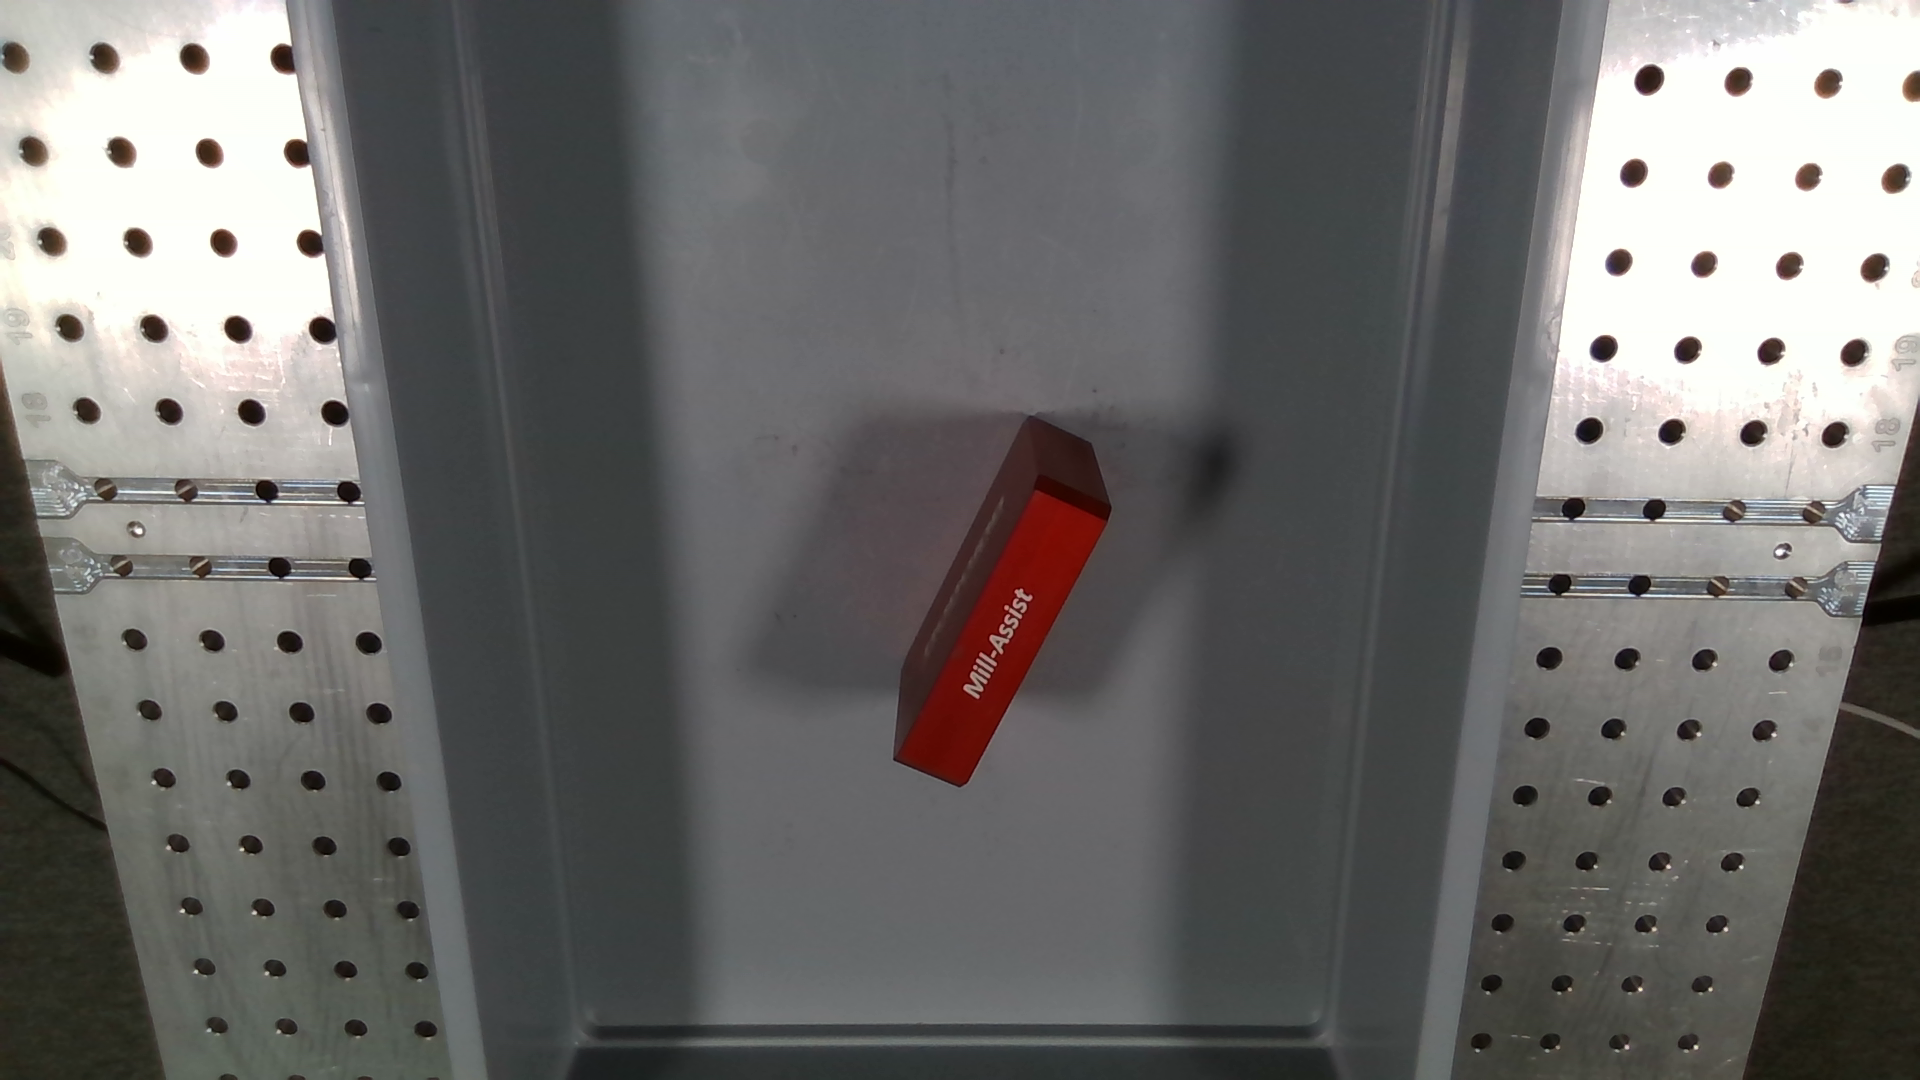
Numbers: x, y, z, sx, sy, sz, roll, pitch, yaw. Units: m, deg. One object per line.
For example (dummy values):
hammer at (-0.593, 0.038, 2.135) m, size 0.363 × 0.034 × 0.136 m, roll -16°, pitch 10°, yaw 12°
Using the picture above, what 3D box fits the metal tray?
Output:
metal tray at (0.014, 0.023, 0.555) m, size 0.030 × 0.090 × 0.130 m, roll 24°, pitch 109°, yaw -8°
